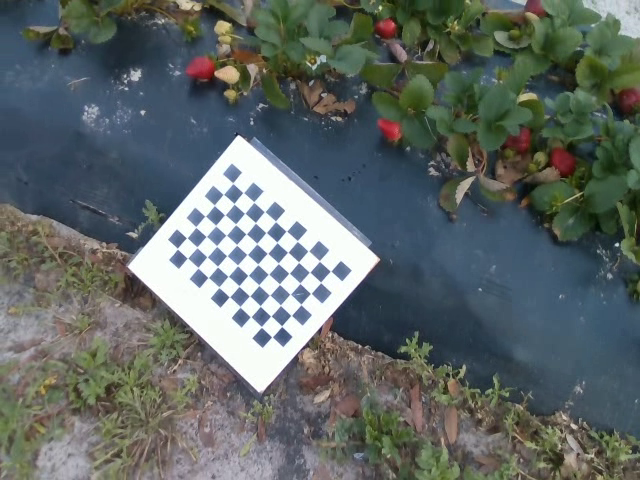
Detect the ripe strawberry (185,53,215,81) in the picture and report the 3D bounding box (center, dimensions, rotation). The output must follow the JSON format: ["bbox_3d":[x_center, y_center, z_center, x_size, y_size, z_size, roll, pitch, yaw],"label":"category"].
[{"bbox_3d":[-0.197,-0.280,0.938,0.050,0.034,0.059,30,45,9],"label":"ripe strawberry"}]
